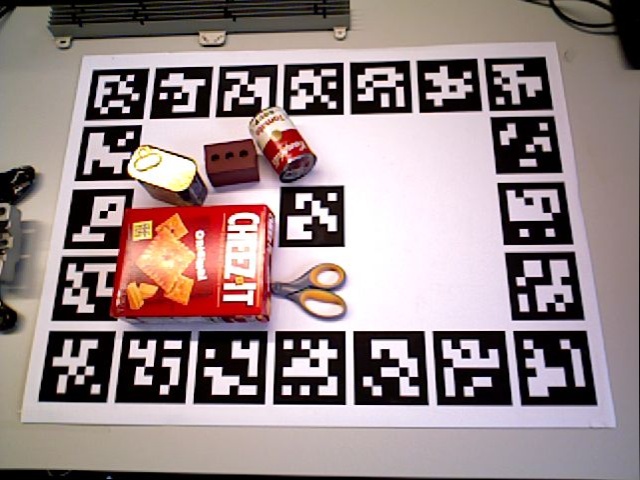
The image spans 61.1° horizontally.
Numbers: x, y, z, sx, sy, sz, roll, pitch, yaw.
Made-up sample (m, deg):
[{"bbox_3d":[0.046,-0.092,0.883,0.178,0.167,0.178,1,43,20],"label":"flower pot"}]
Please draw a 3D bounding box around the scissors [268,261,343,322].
[{"bbox_3d":[-0.069,0.079,0.782,0.202,0.016,0.087,-5,74,3],"label":"scissors"}]

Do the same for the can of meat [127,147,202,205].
[{"bbox_3d":[-0.235,-0.096,0.818,0.102,0.084,0.057,14,74,7],"label":"can of meat"}]

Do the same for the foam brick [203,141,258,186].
[{"bbox_3d":[-0.139,-0.121,0.839,0.078,0.052,0.052,-10,73,0],"label":"foam brick"}]

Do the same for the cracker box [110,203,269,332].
[{"bbox_3d":[-0.185,0.035,0.770,0.213,0.072,0.163,-6,72,6],"label":"cracker box"}]

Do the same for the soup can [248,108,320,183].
[{"bbox_3d":[-0.057,-0.148,0.840,0.067,0.068,0.102,-36,69,-8],"label":"soup can"}]
